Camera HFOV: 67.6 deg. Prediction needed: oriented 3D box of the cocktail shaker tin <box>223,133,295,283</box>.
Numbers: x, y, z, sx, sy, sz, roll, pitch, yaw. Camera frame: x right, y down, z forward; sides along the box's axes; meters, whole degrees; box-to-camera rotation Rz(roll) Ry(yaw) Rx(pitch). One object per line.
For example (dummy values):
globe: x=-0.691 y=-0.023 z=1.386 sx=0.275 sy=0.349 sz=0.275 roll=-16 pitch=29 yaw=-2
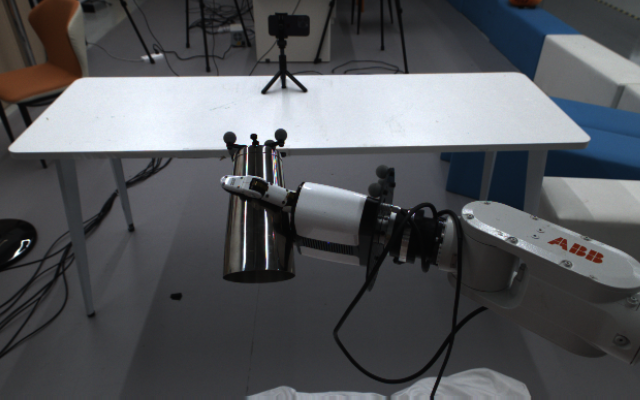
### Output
cocktail shaker tin: x=-0.082 y=0.019 z=0.640 sx=0.093 sy=0.093 sz=0.170 roll=-2 pitch=71 yaw=-6
